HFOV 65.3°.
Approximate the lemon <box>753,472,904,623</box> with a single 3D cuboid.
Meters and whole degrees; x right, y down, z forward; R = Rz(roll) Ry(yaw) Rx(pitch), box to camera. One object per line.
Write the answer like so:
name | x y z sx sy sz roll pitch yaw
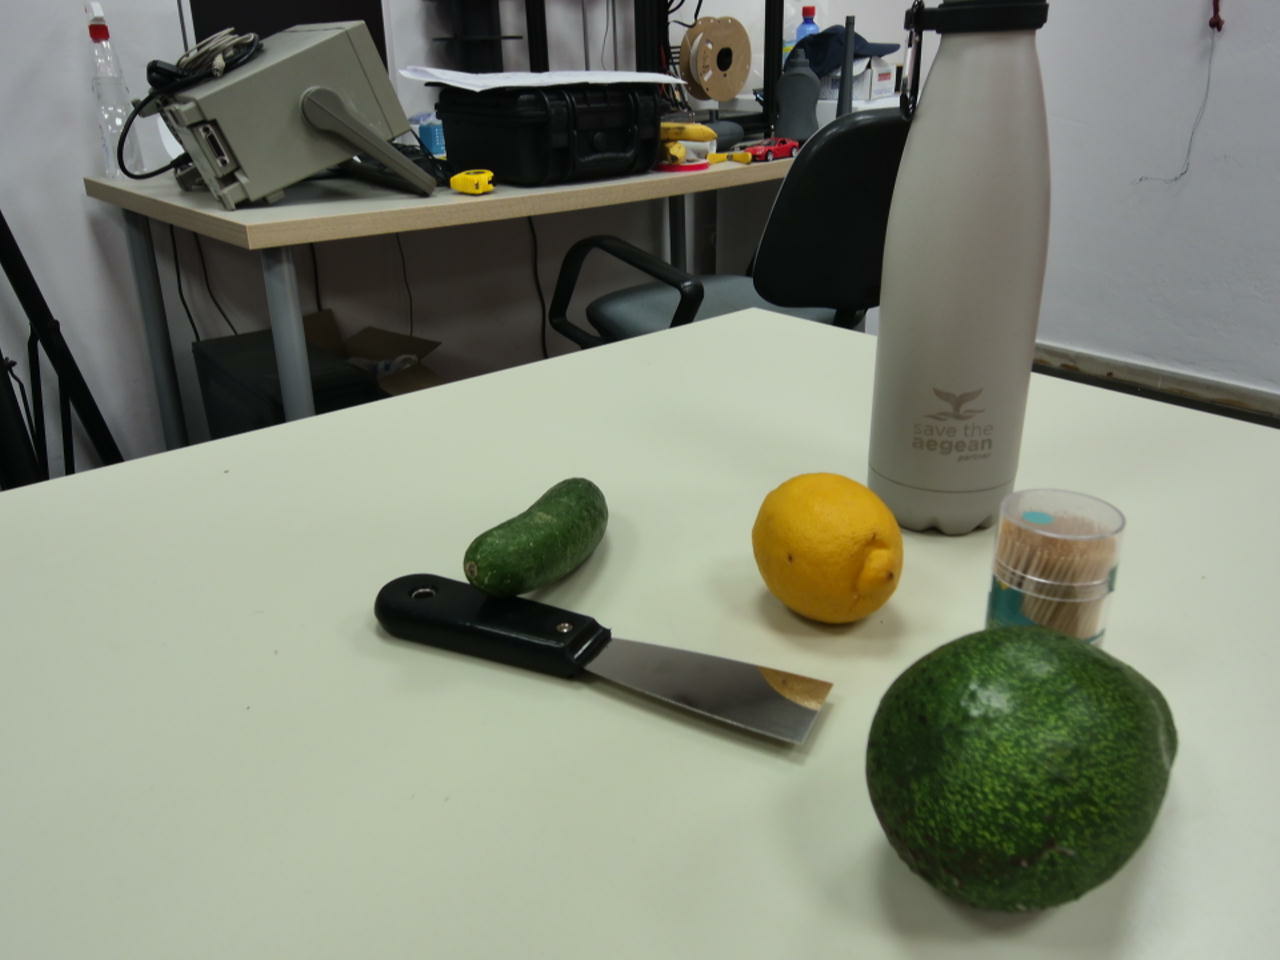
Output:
lemon | 0.078 0.028 0.420 0.061 0.059 0.067 1 21 3
